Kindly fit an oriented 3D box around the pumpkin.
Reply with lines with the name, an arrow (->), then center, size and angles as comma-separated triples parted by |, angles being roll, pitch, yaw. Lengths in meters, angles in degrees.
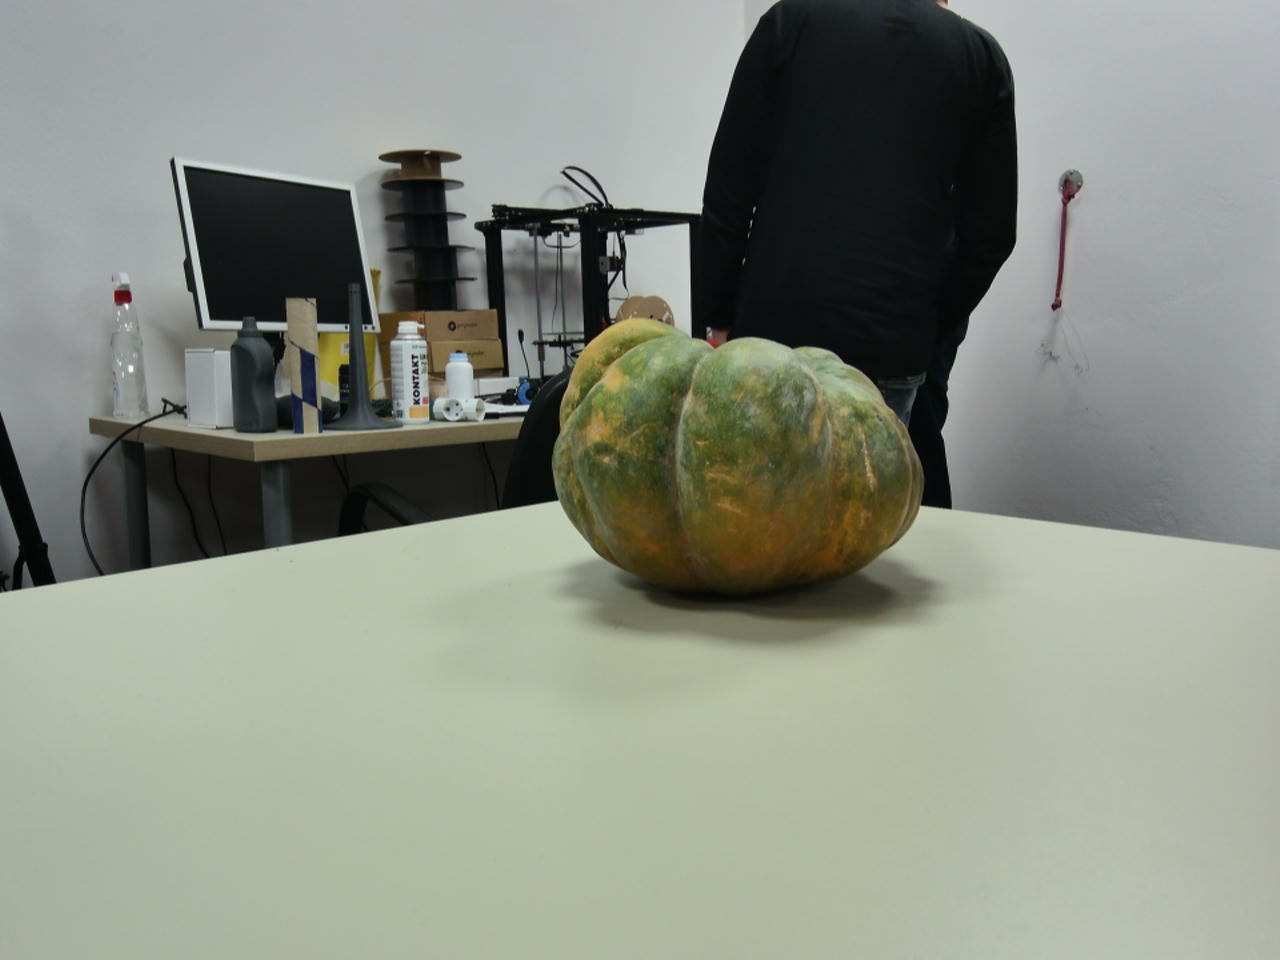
pumpkin -> 0.062, -0.018, 0.662 | 0.237, 0.173, 0.270 | 0, 6, -6
